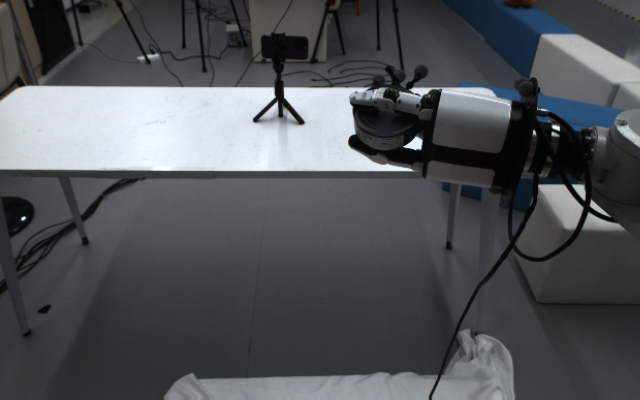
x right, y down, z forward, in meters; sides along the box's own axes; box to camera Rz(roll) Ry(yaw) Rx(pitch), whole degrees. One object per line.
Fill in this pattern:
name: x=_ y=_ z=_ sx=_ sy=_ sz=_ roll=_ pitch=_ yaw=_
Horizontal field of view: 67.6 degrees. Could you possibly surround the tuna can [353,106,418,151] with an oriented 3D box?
tuna can: x=0.086 y=-0.109 z=0.623 sx=0.085 sy=0.034 sz=0.085 roll=-4 pitch=56 yaw=6
